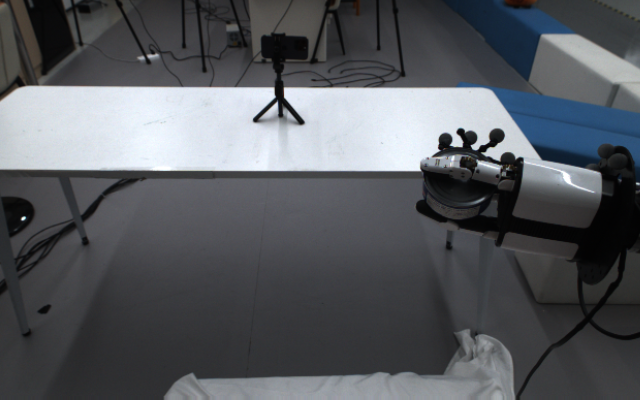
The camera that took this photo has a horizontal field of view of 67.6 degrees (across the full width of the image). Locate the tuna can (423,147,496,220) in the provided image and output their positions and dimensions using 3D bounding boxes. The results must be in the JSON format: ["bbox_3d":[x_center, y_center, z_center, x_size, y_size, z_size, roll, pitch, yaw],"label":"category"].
[{"bbox_3d":[0.169,-0.022,0.585,0.085,0.034,0.085,-4,56,6],"label":"tuna can"}]
